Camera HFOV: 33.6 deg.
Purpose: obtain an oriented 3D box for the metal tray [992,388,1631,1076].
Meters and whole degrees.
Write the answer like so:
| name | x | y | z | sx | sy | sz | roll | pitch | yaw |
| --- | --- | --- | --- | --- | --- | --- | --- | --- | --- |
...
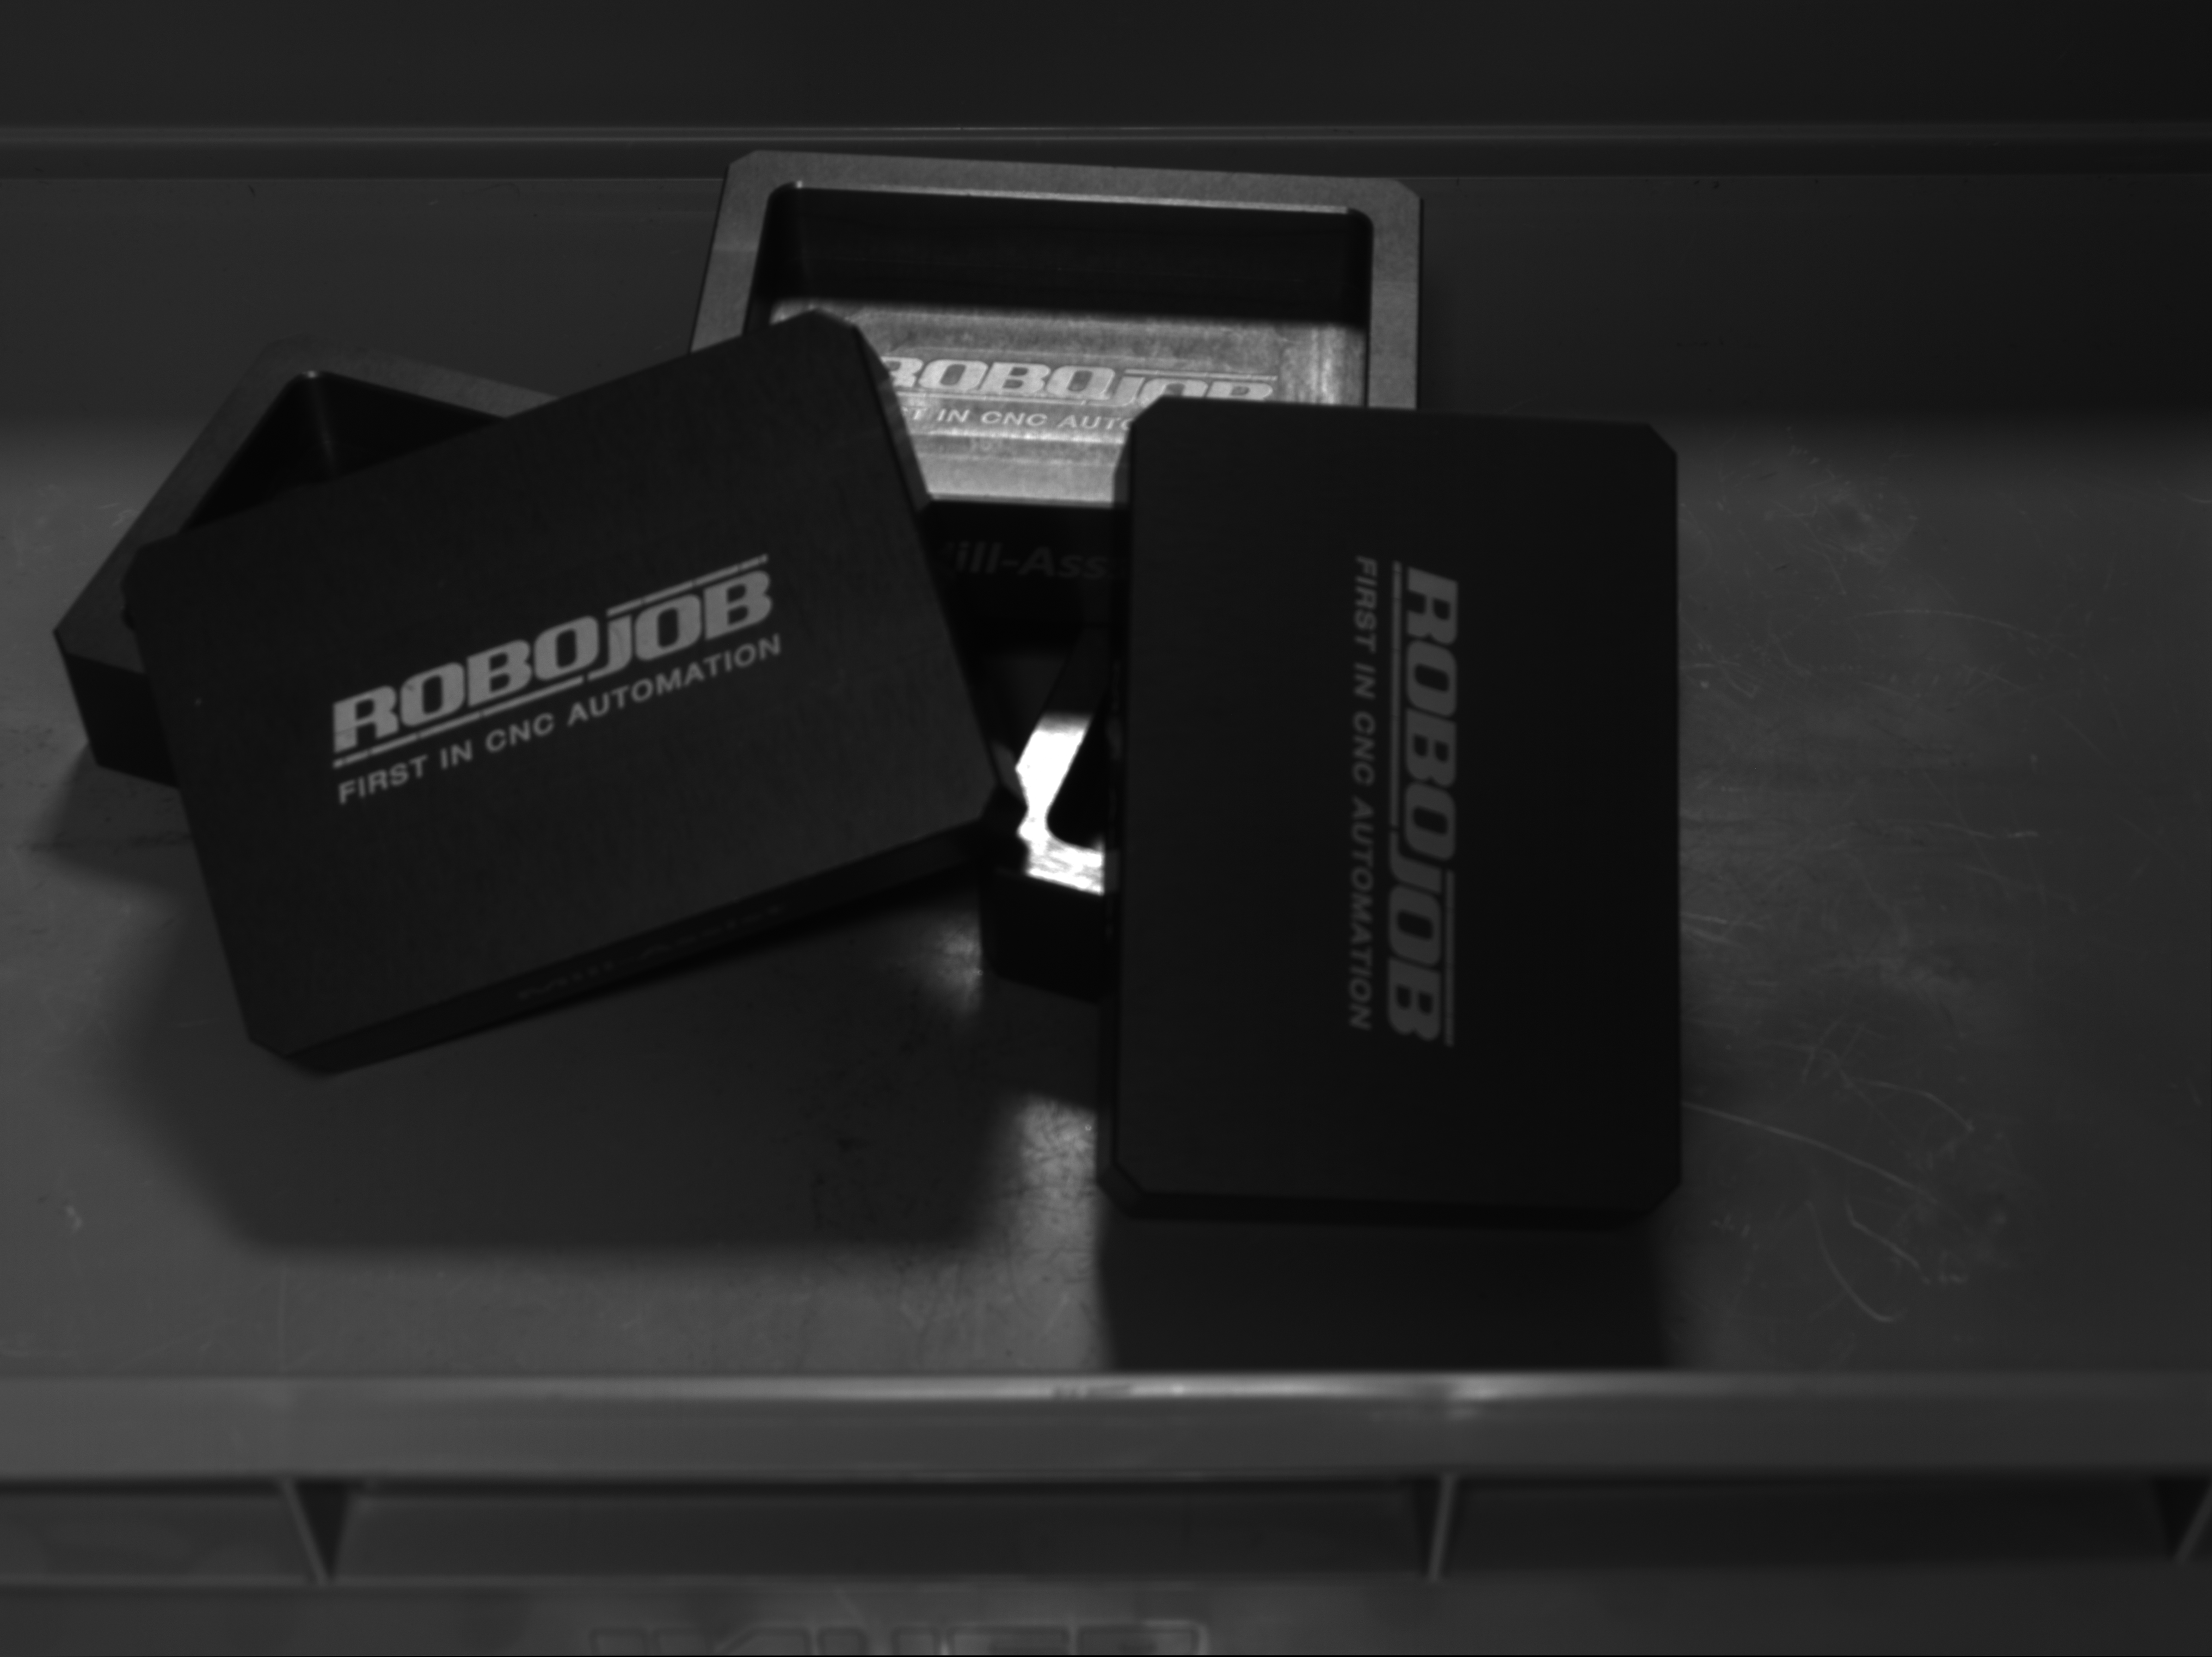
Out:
| name | x | y | z | sx | sy | sz | roll | pitch | yaw |
| --- | --- | --- | --- | --- | --- | --- | --- | --- | --- |
| metal tray | 0.043 | -0.020 | 0.654 | 0.090 | 0.030 | 0.130 | 15 | 51 | 12 |

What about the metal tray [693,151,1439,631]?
| name | x | y | z | sx | sy | sz | roll | pitch | yaw |
| --- | --- | --- | --- | --- | --- | --- | --- | --- | --- |
| metal tray | -0.006 | -0.081 | 0.666 | 0.130 | 0.030 | 0.090 | 3 | 50 | 2 |

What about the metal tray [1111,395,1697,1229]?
| name | x | y | z | sx | sy | sz | roll | pitch | yaw |
| --- | --- | --- | --- | --- | --- | --- | --- | --- | --- |
| metal tray | 0.048 | -0.002 | 0.597 | 0.090 | 0.030 | 0.130 | 3 | 78 | -5 |

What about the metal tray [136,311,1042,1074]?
| name | x | y | z | sx | sy | sz | roll | pitch | yaw |
| --- | --- | --- | --- | --- | --- | --- | --- | --- | --- |
| metal tray | -0.086 | -0.021 | 0.611 | 0.130 | 0.030 | 0.090 | -19 | 80 | 5 |

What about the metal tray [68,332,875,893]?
| name | x | y | z | sx | sy | sz | roll | pitch | yaw |
| --- | --- | --- | --- | --- | --- | --- | --- | --- | --- |
| metal tray | -0.109 | -0.038 | 0.667 | 0.130 | 0.030 | 0.090 | 15 | 52 | 13 |
